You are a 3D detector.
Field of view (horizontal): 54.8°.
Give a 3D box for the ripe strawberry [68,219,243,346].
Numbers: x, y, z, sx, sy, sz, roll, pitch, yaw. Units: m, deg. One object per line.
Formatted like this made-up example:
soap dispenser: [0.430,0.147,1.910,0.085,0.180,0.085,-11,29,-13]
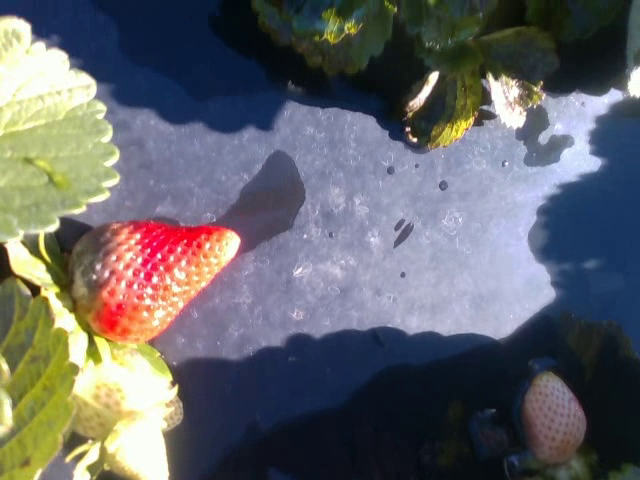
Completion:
ripe strawberry: [-0.054,0.009,0.208,0.064,0.050,0.052,-26,46,-3]
